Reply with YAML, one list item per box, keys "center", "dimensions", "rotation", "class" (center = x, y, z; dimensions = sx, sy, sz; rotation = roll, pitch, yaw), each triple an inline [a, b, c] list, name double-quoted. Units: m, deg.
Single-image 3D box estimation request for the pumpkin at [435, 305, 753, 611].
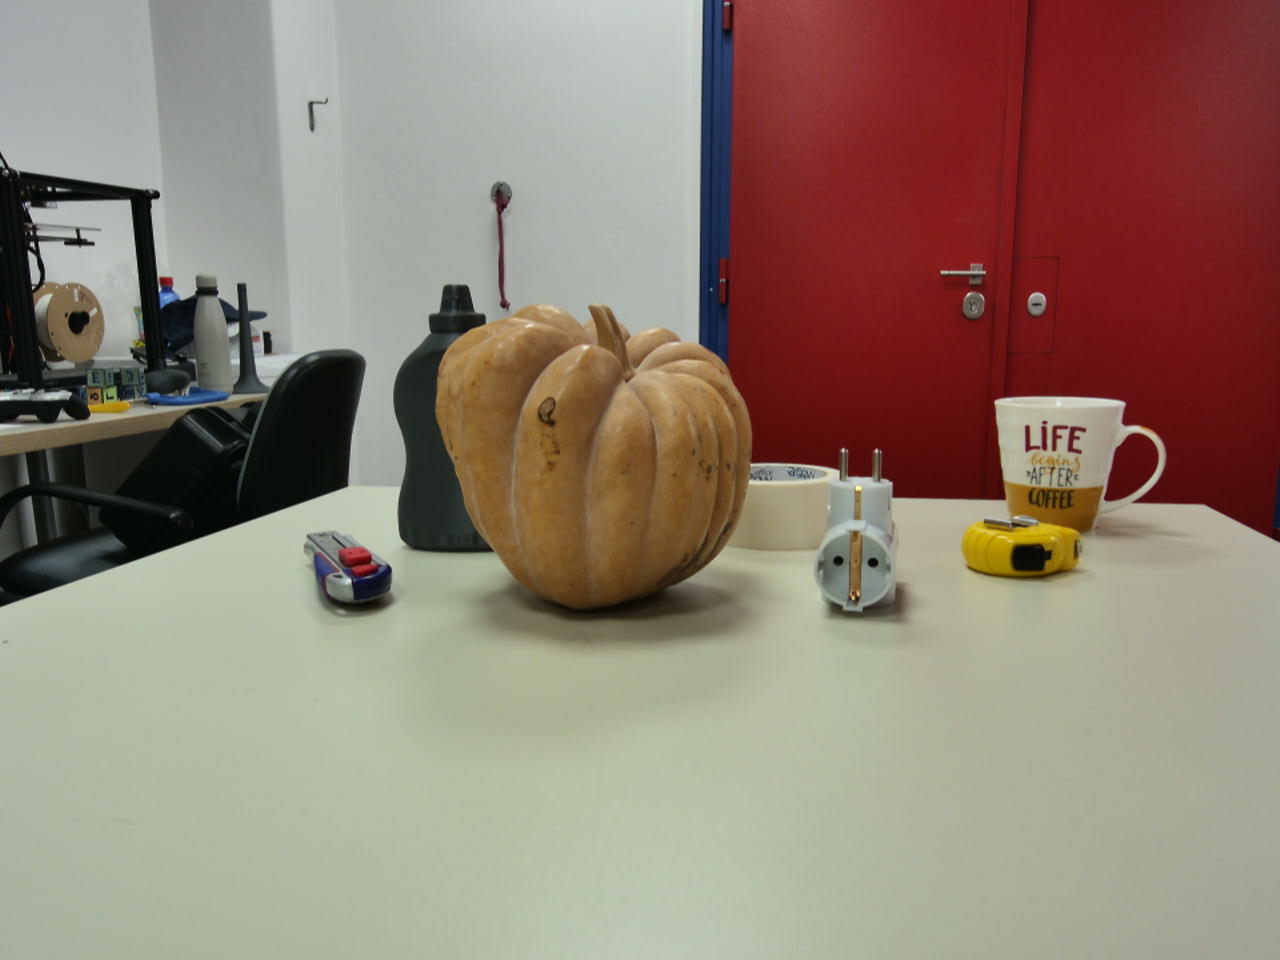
- center: [-0.028, -0.016, 0.599]
  dimensions: [0.199, 0.177, 0.198]
  rotation: [0, 7, 0]
  class: "pumpkin"
